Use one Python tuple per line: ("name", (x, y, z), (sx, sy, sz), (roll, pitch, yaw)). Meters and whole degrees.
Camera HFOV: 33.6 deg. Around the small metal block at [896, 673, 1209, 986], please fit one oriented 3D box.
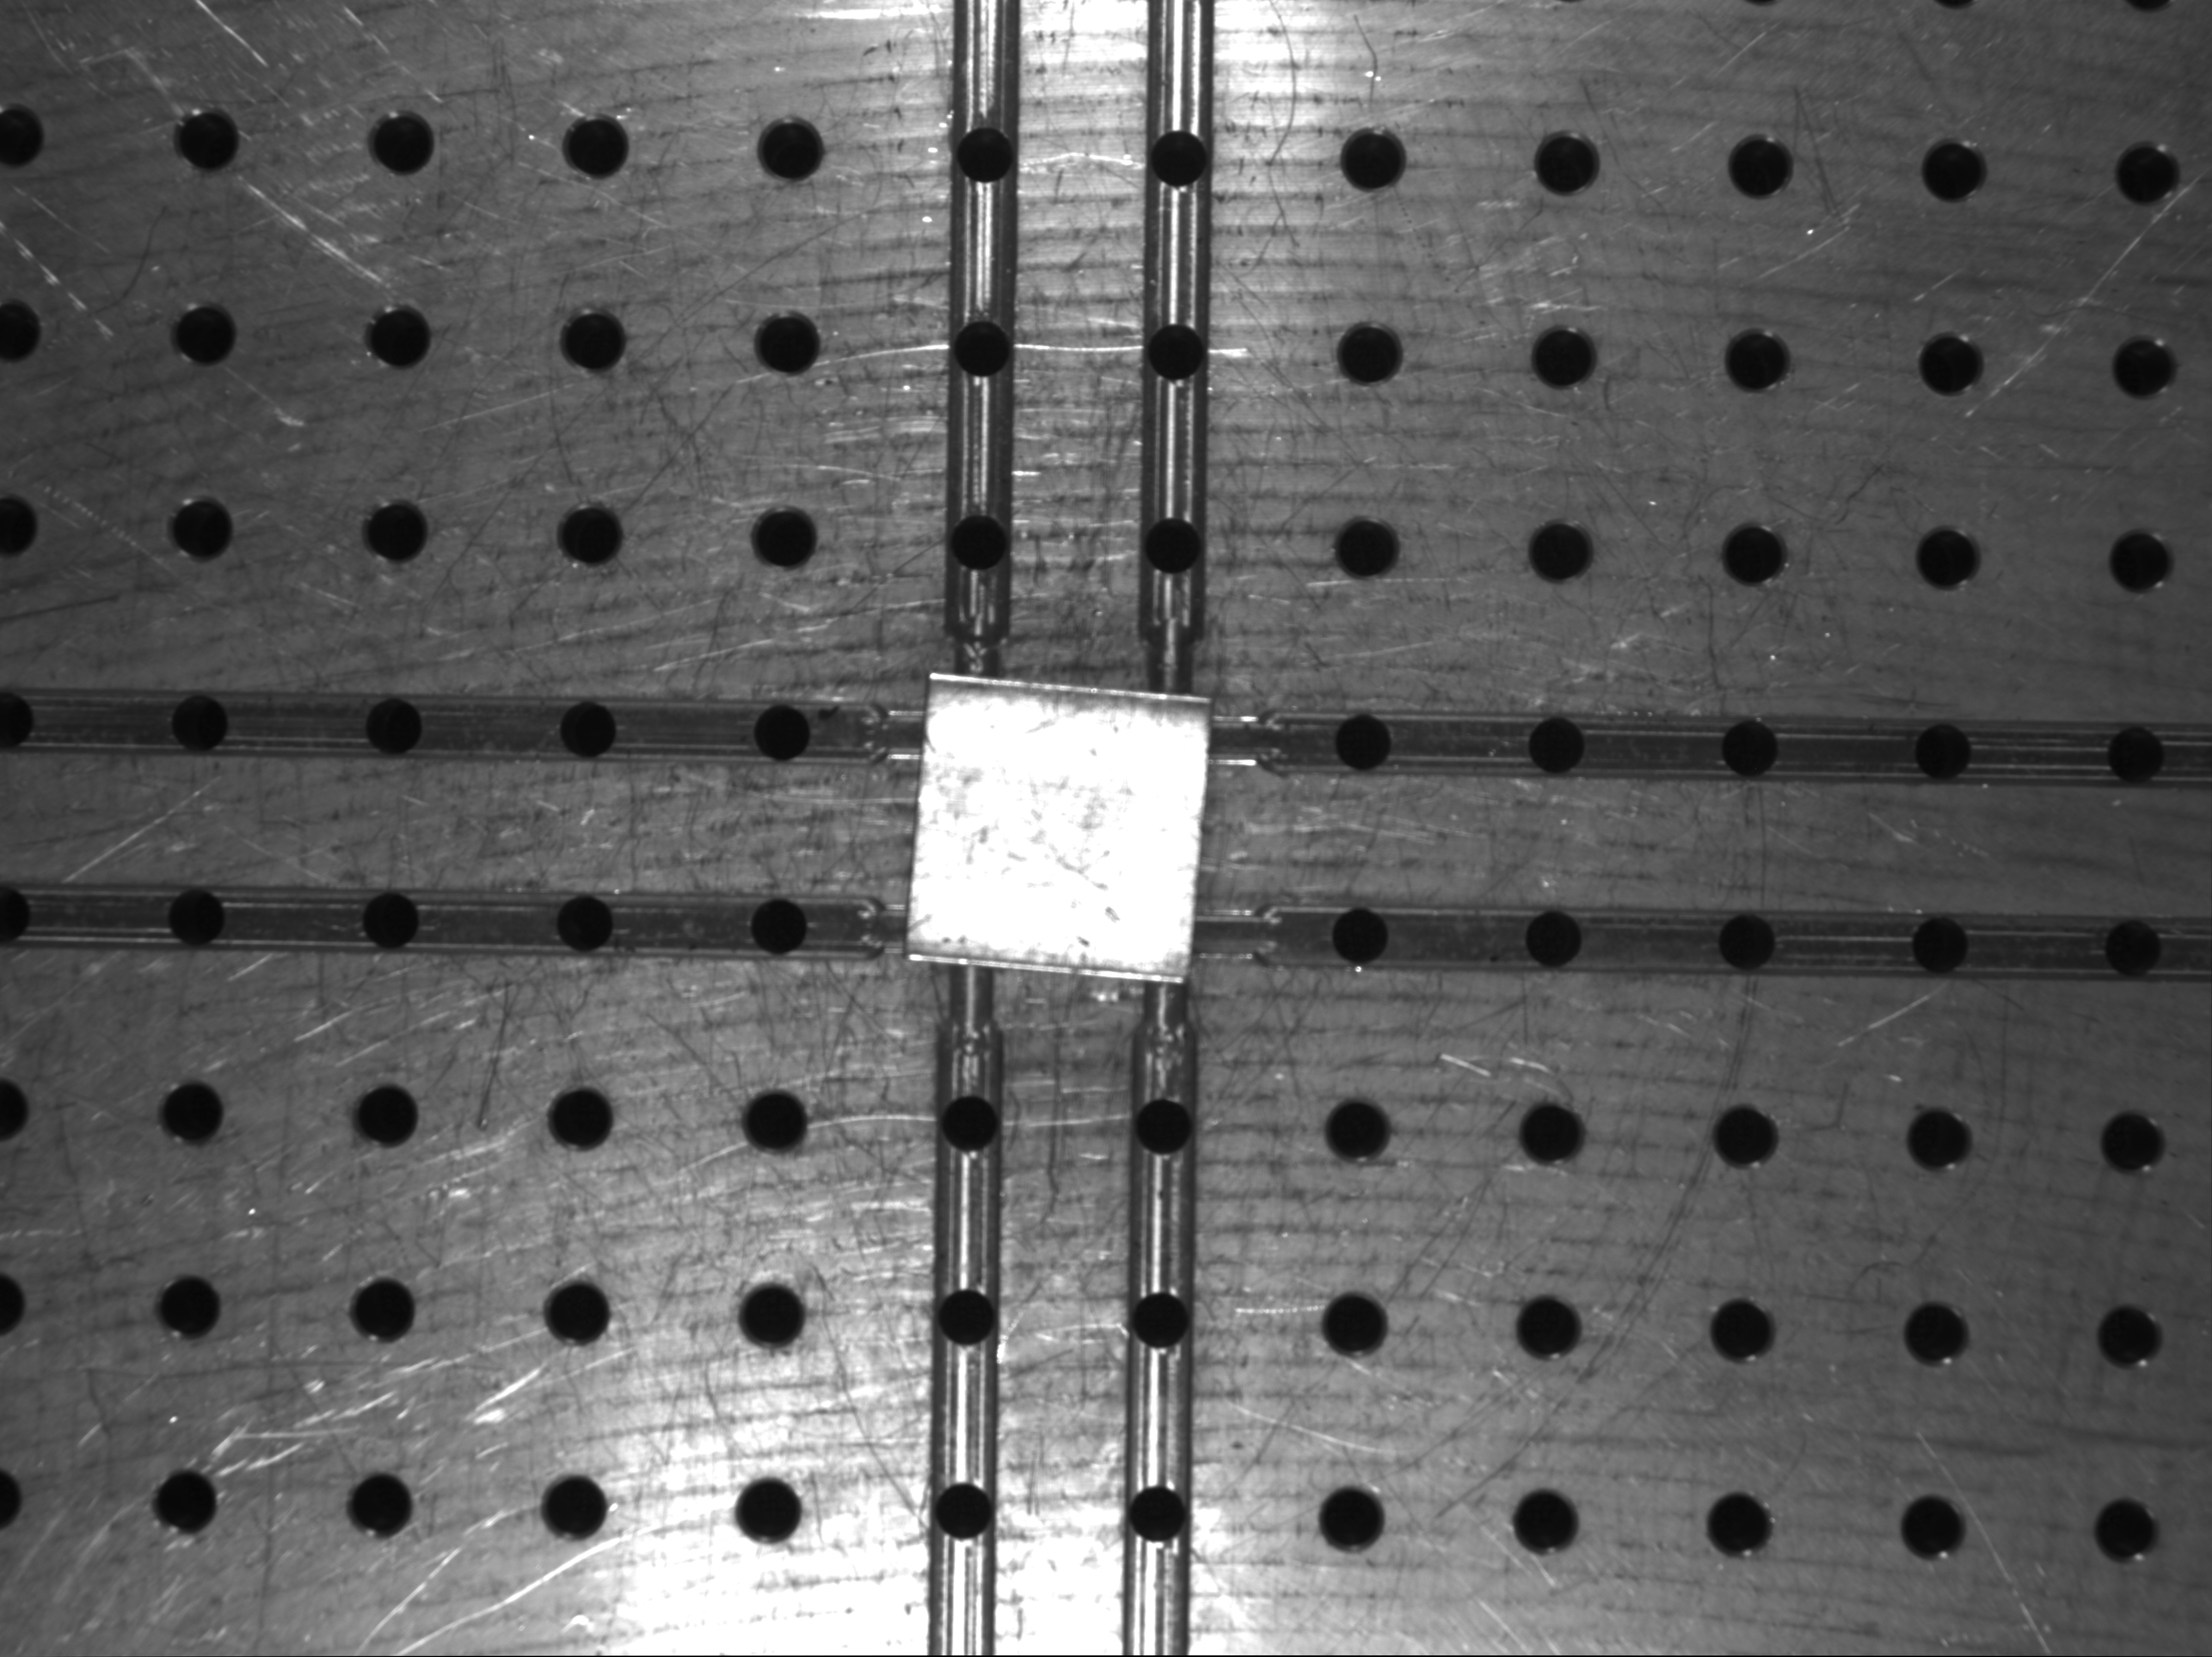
("small metal block", (-0.009, 0.000, 0.647), (0.050, 0.025, 0.050), (5, 90, 0))
